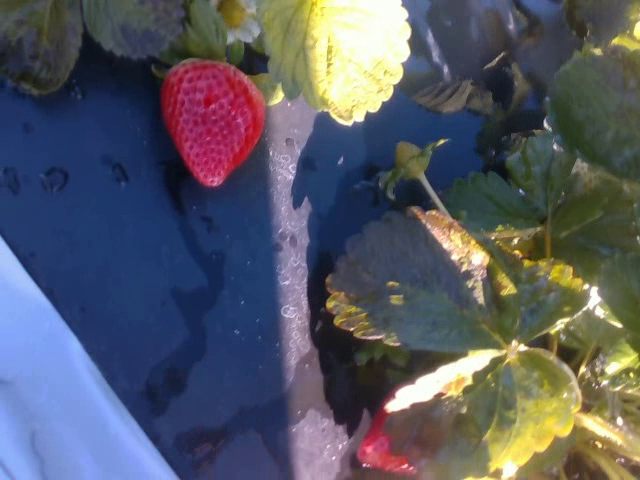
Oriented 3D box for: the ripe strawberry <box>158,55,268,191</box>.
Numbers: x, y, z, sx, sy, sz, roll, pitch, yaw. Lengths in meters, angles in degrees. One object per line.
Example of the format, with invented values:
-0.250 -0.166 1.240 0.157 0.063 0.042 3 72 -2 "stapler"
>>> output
-0.040 -0.043 0.234 0.045 0.059 0.042 2 -13 11 "ripe strawberry"
